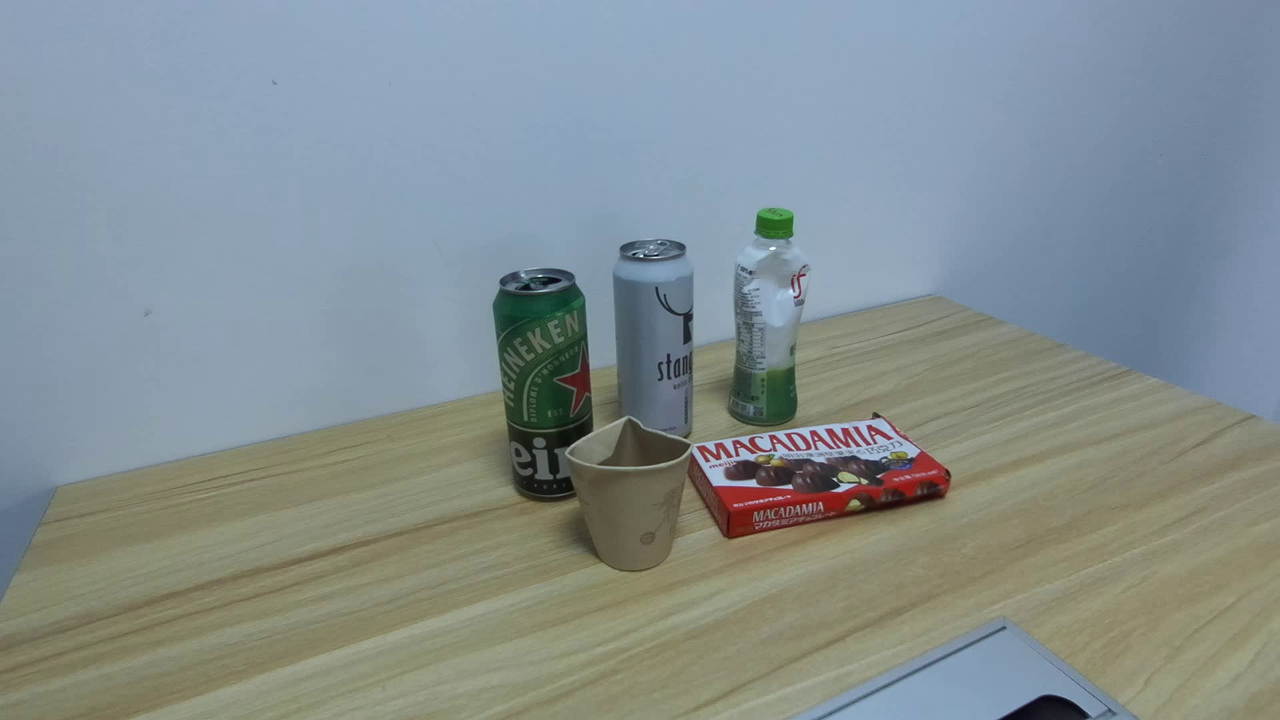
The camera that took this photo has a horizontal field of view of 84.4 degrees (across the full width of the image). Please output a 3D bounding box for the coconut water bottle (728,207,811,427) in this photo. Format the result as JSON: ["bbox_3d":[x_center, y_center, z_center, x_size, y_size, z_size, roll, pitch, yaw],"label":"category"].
[{"bbox_3d":[0.112,-0.038,0.617,0.069,0.187,0.069,0,24,0],"label":"coconut water bottle"}]

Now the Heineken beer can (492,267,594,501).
[{"bbox_3d":[-0.070,0.020,0.535,0.067,0.169,0.067,-2,24,1],"label":"Heineken beer can"}]

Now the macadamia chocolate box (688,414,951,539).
[{"bbox_3d":[0.136,0.086,0.548,0.183,0.028,0.105,-7,25,-14],"label":"macadamia chocolate box"}]

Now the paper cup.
[{"bbox_3d":[-0.006,0.092,0.470,0.071,0.084,0.066,18,31,38],"label":"paper cup"}]

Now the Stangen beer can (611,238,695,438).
[{"bbox_3d":[0.013,-0.013,0.598,0.067,0.171,0.067,-1,24,1],"label":"Stangen beer can"}]
